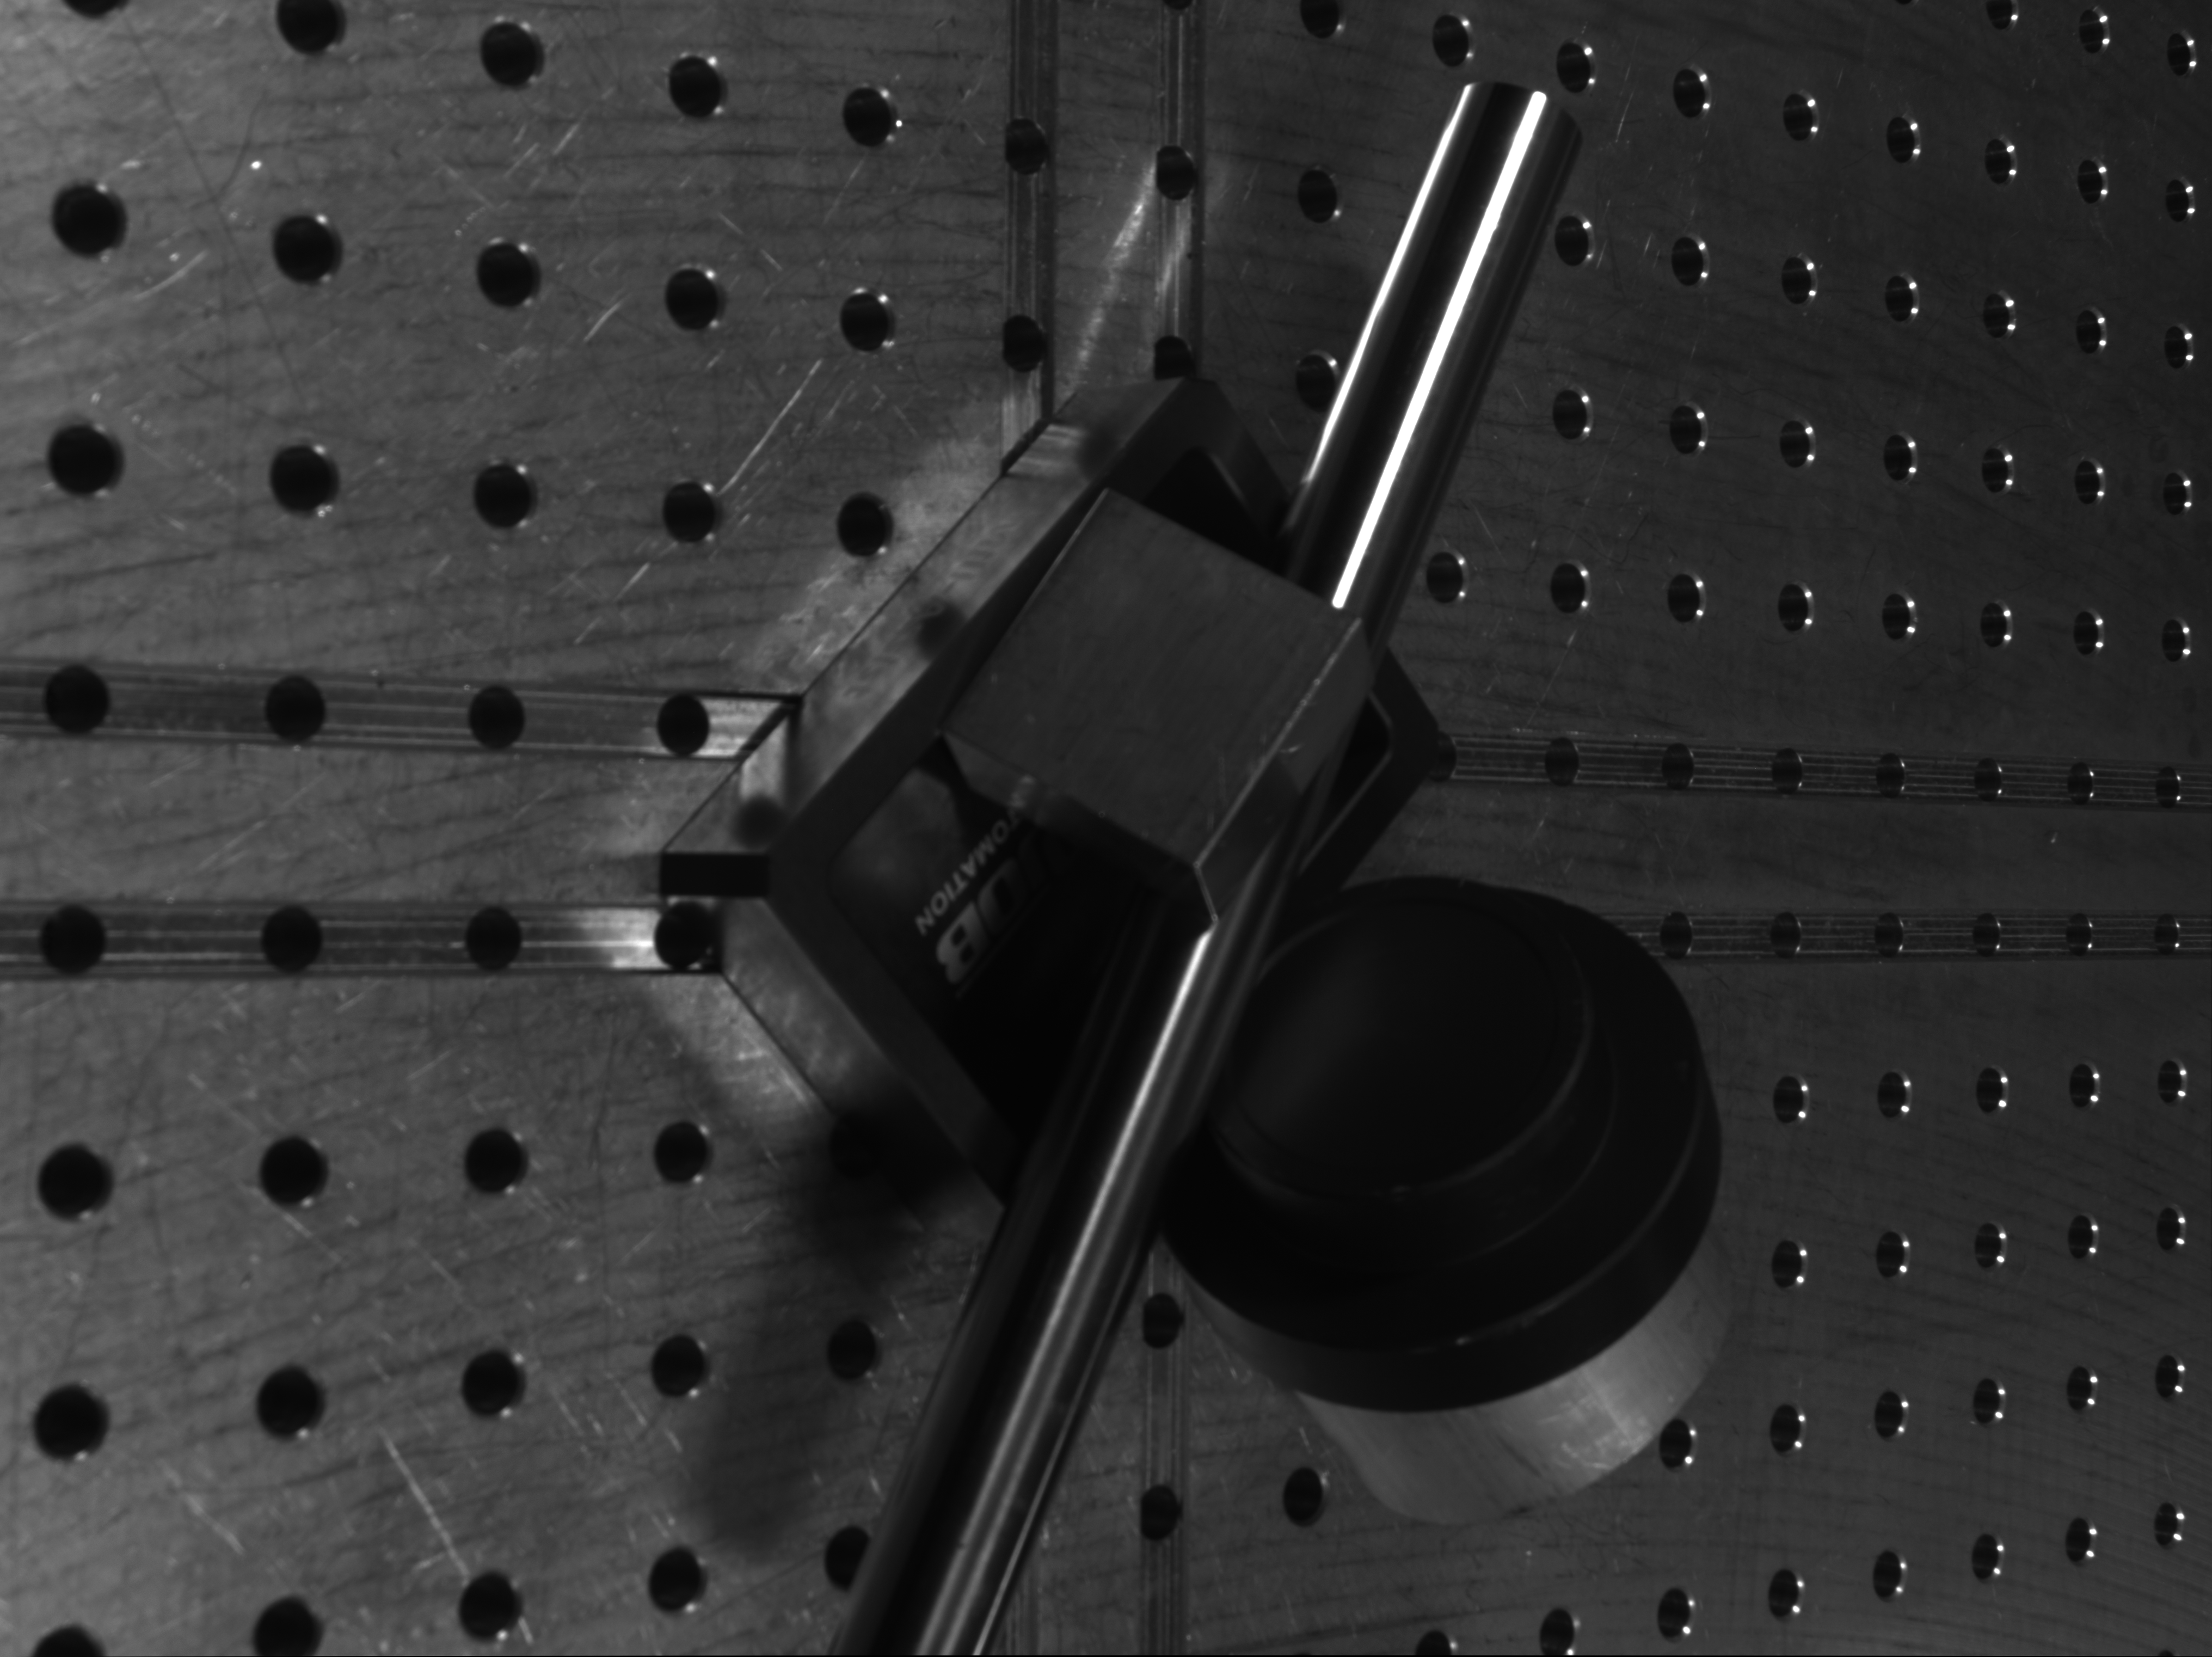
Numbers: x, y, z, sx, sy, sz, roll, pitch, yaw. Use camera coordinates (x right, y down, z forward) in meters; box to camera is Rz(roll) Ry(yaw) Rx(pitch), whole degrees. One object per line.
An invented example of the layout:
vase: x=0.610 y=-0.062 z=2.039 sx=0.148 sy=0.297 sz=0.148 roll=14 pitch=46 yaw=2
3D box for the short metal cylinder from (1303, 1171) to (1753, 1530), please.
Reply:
short metal cylinder: x=0.069 y=0.079 z=0.661 sx=0.080 sy=0.080 sz=0.050 roll=-51 pitch=120 yaw=-28

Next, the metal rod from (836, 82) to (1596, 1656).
metal rod: x=0.023 y=0.004 z=0.620 sx=0.025 sy=0.025 sz=0.300 roll=35 pitch=69 yaw=-34

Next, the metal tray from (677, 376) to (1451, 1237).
metal tray: x=-0.003 y=-0.004 z=0.633 sx=0.130 sy=0.030 sz=0.090 roll=-51 pitch=120 yaw=-28

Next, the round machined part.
round machined part: x=0.056 y=0.047 z=0.626 sx=0.098 sy=0.098 sz=0.042 roll=-54 pitch=143 yaw=-26

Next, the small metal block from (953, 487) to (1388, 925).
small metal block: x=0.011 y=-0.020 z=0.605 sx=0.050 sy=0.050 sz=0.025 roll=-56 pitch=160 yaw=-14
